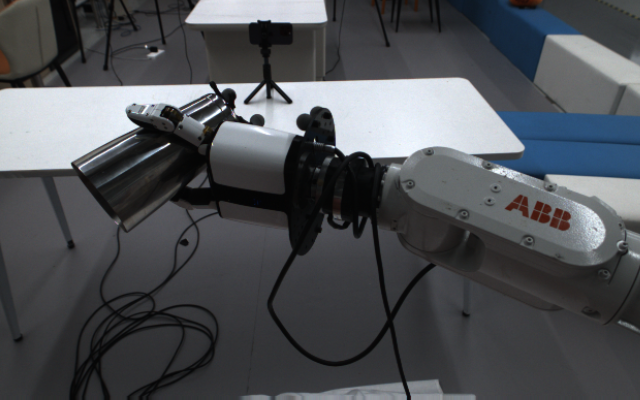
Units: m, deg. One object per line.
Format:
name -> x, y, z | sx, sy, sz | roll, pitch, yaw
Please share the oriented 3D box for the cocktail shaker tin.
cocktail shaker tin -> -0.174, -0.055, 0.547 | 0.170, 0.093, 0.093 | -38, 49, -24
